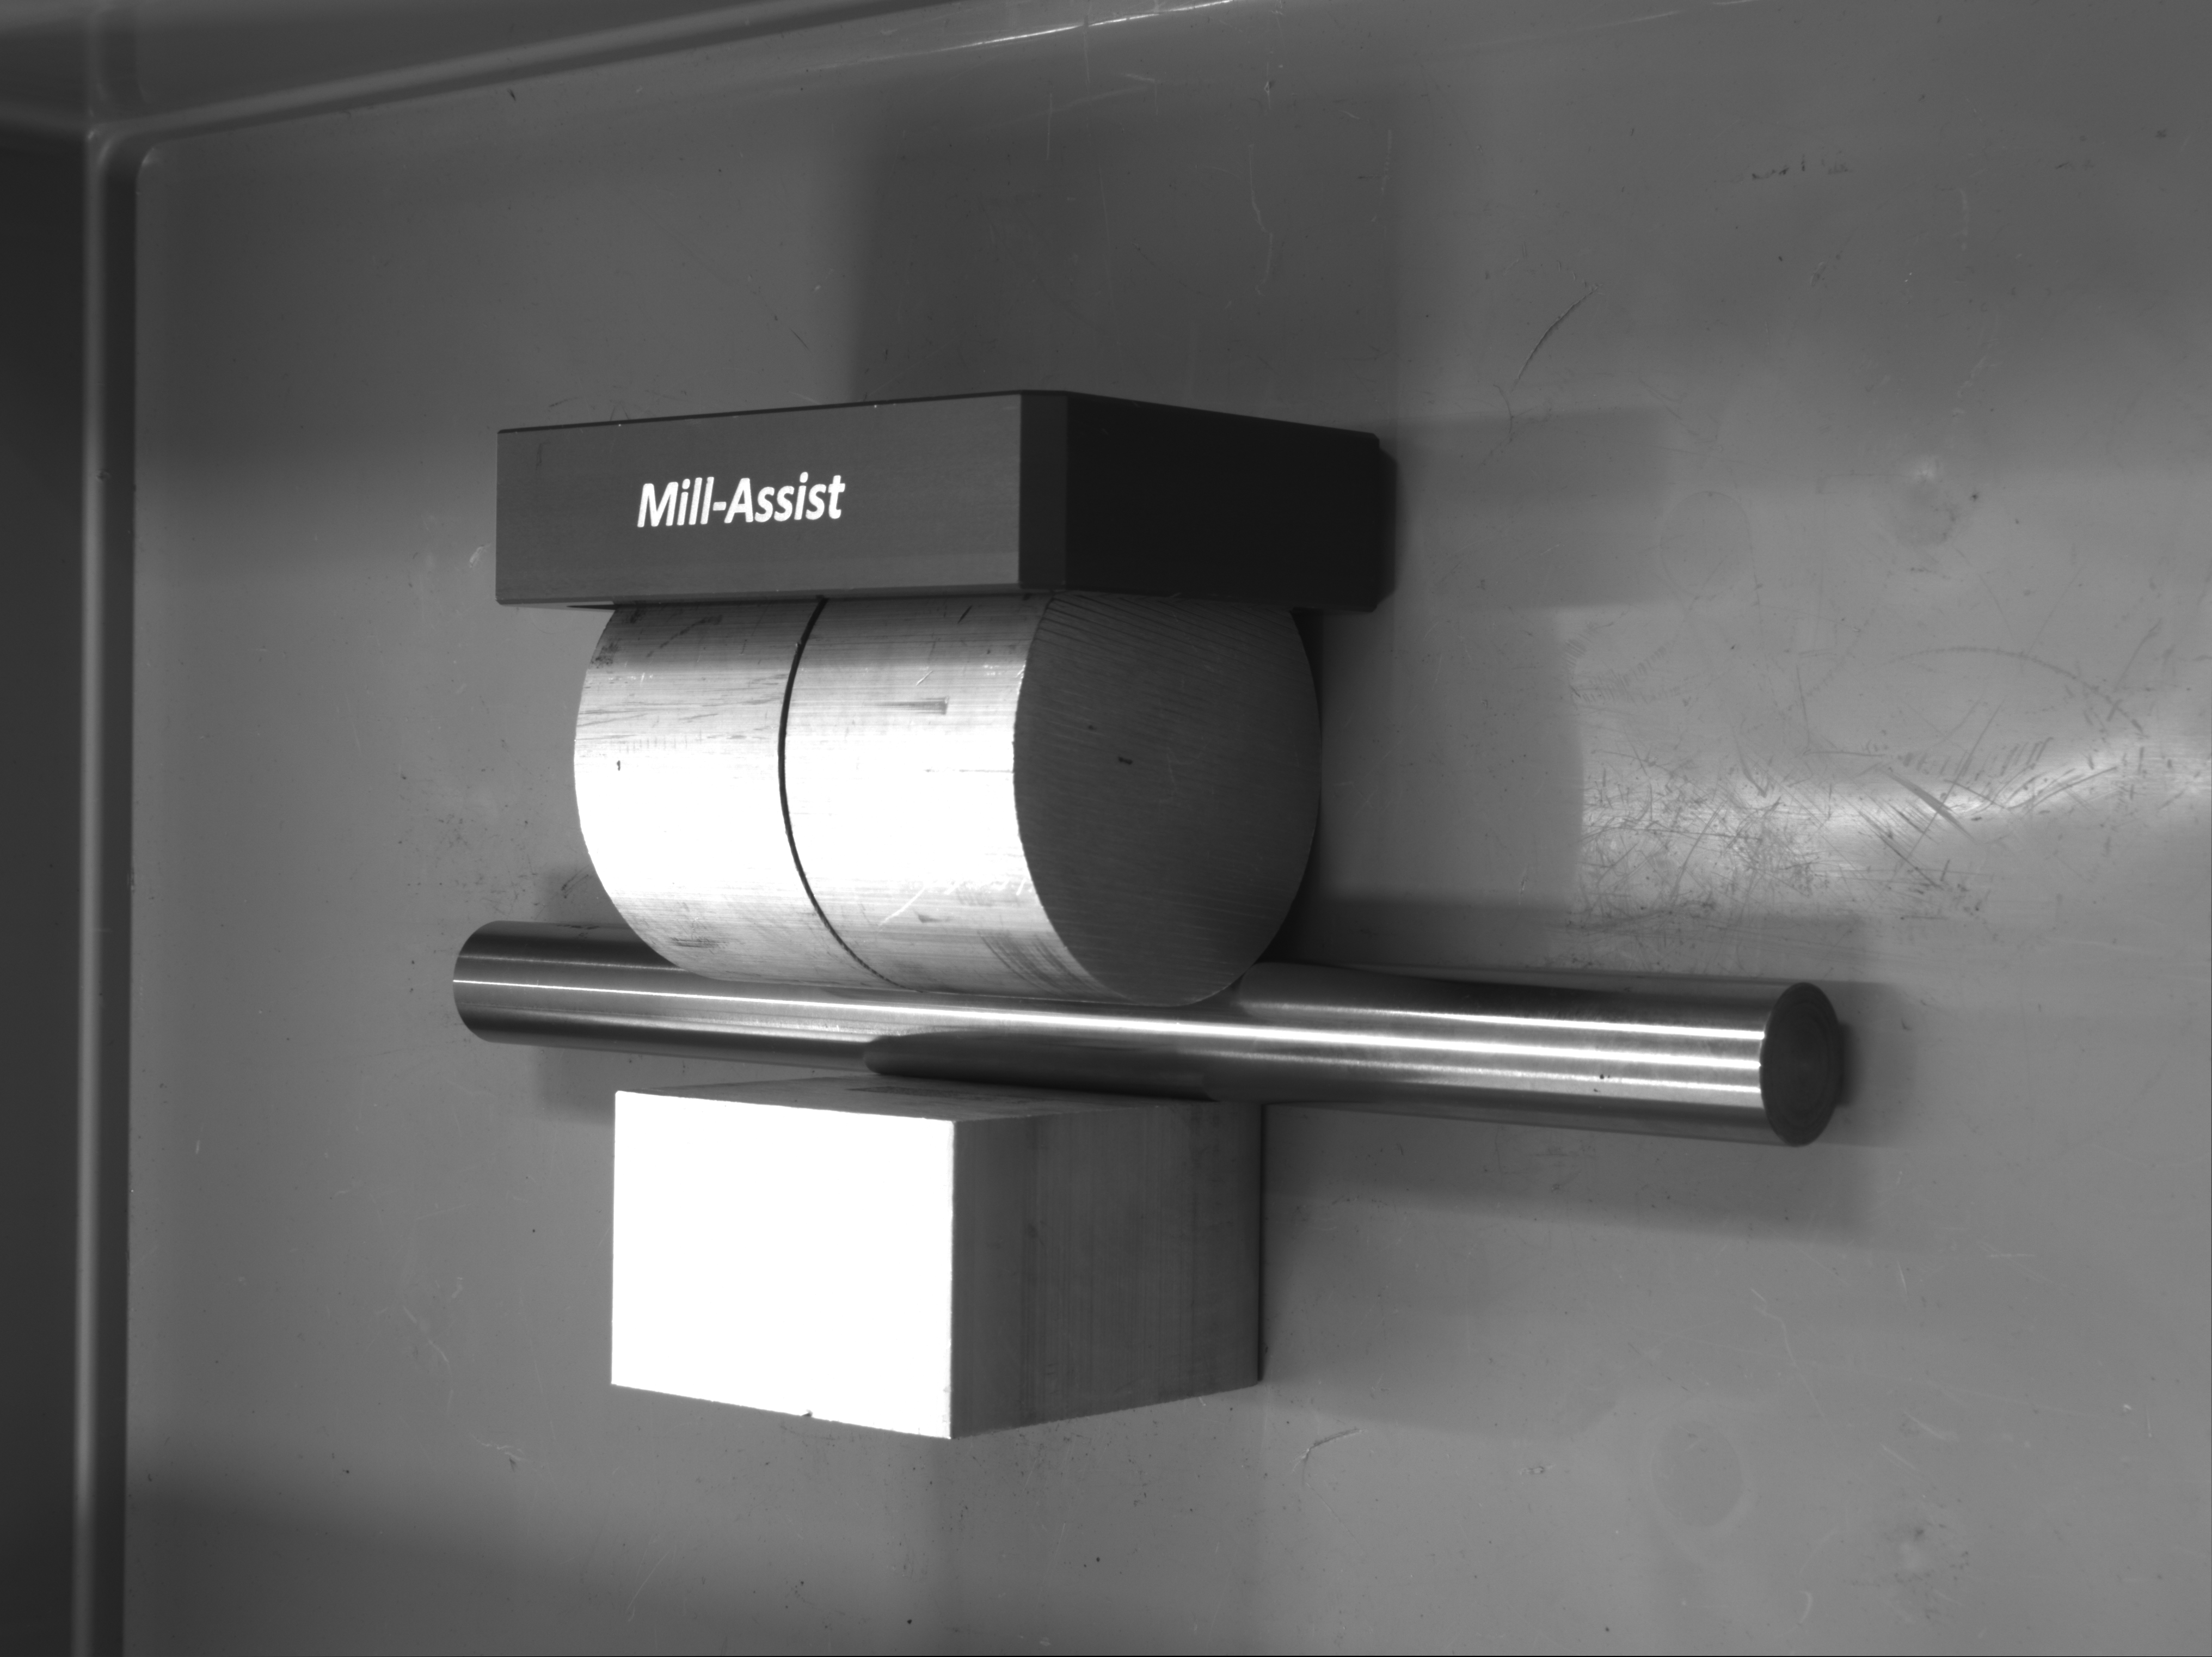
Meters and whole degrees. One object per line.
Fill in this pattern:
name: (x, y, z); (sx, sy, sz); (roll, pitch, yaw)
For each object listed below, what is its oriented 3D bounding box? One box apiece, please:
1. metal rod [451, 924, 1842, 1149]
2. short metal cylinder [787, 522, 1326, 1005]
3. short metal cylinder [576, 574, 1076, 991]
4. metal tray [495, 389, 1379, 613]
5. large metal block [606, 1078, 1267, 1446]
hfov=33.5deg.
metal rod: (-0.009, 0.034, 0.651); (0.299, 0.025, 0.025); (1, 91, 40)
short metal cylinder: (-0.007, -0.012, 0.615); (0.050, 0.080, 0.080); (2, 91, 40)
short metal cylinder: (-0.047, -0.012, 0.648); (0.050, 0.080, 0.080); (1, 90, 40)
metal tray: (-0.030, -0.052, 0.627); (0.130, 0.090, 0.030); (1, 91, 40)
large metal block: (-0.029, 0.071, 0.631); (0.080, 0.080, 0.050); (1, 90, 40)
